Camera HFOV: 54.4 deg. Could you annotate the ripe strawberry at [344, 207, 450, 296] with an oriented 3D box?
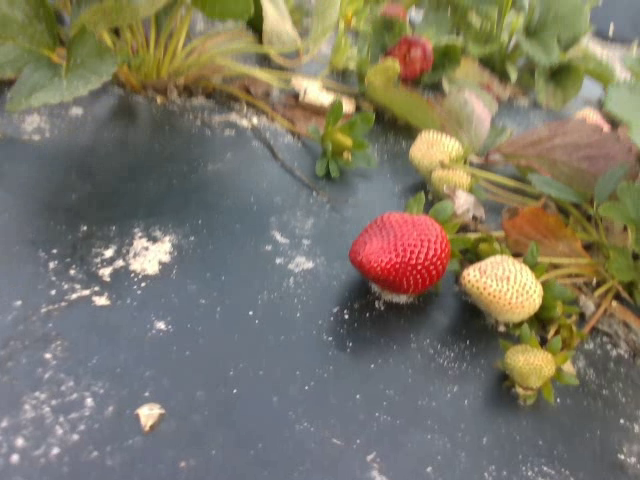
[{"bbox_3d":[0.032,0.005,0.260,0.050,0.034,0.059,30,24,20],"label":"ripe strawberry"}]
